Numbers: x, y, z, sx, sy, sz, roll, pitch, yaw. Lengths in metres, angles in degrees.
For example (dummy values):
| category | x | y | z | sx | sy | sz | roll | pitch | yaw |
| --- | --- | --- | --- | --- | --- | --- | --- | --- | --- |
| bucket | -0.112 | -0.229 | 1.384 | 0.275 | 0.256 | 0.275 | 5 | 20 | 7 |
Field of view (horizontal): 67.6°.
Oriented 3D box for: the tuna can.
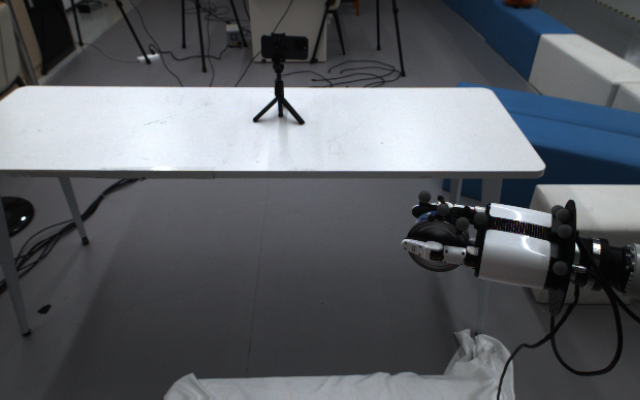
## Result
| category | x | y | z | sx | sy | sz | roll | pitch | yaw |
| --- | --- | --- | --- | --- | --- | --- | --- | --- | --- |
| tuna can | 0.173 | 0.058 | 0.700 | 0.085 | 0.085 | 0.034 | 16 | 28 | 19 |
